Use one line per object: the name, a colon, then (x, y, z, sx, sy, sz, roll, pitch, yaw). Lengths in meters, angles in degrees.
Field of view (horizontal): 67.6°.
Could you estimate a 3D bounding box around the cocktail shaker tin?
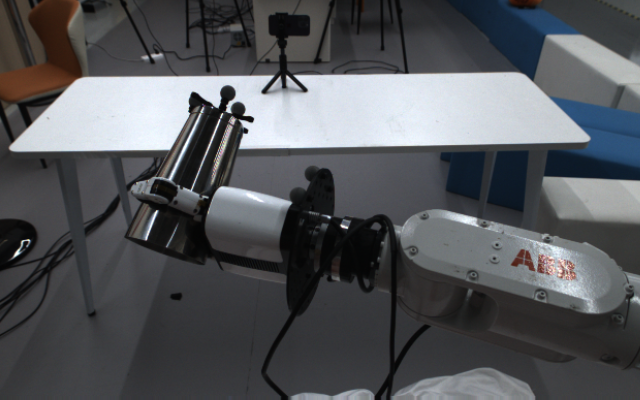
cocktail shaker tin: (-0.149, -0.019, 0.561, 0.093, 0.093, 0.170, 13, 72, 16)
